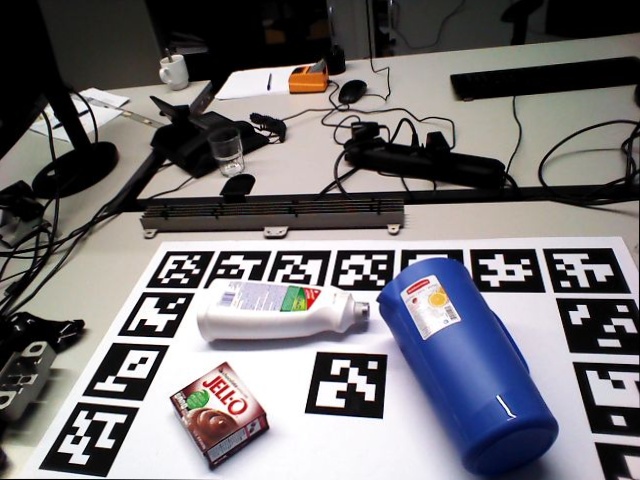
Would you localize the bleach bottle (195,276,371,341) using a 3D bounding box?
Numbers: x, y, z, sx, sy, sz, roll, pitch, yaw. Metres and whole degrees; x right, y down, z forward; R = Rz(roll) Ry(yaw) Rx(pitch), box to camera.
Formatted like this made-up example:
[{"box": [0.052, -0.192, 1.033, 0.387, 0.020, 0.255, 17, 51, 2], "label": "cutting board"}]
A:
[{"box": [-0.051, 0.099, 0.777, 0.252, 0.068, 0.102, -2, 43, 10], "label": "bleach bottle"}]

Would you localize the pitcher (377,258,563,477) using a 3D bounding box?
[{"box": [0.183, 0.148, 0.625, 0.188, 0.134, 0.242, 11, 35, -27], "label": "pitcher"}]

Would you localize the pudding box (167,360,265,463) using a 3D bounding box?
[{"box": [-0.137, 0.216, 0.665, 0.089, 0.039, 0.114, -25, 41, -25], "label": "pudding box"}]
